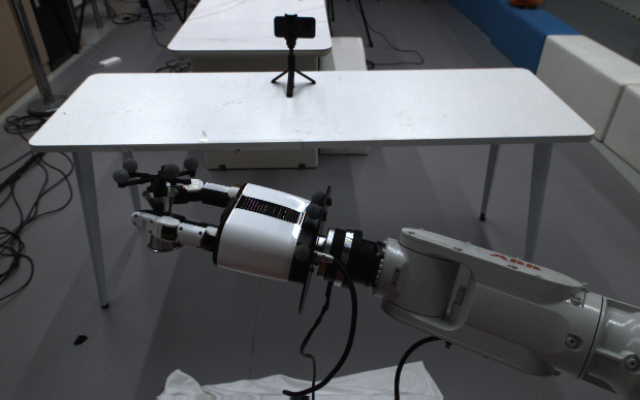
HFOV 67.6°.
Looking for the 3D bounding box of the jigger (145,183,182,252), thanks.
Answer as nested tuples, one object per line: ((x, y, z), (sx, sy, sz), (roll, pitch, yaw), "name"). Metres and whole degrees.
((-0.185, 0.023, 0.576), (0.043, 0.071, 0.043), (0, 21, 0), "jigger")
